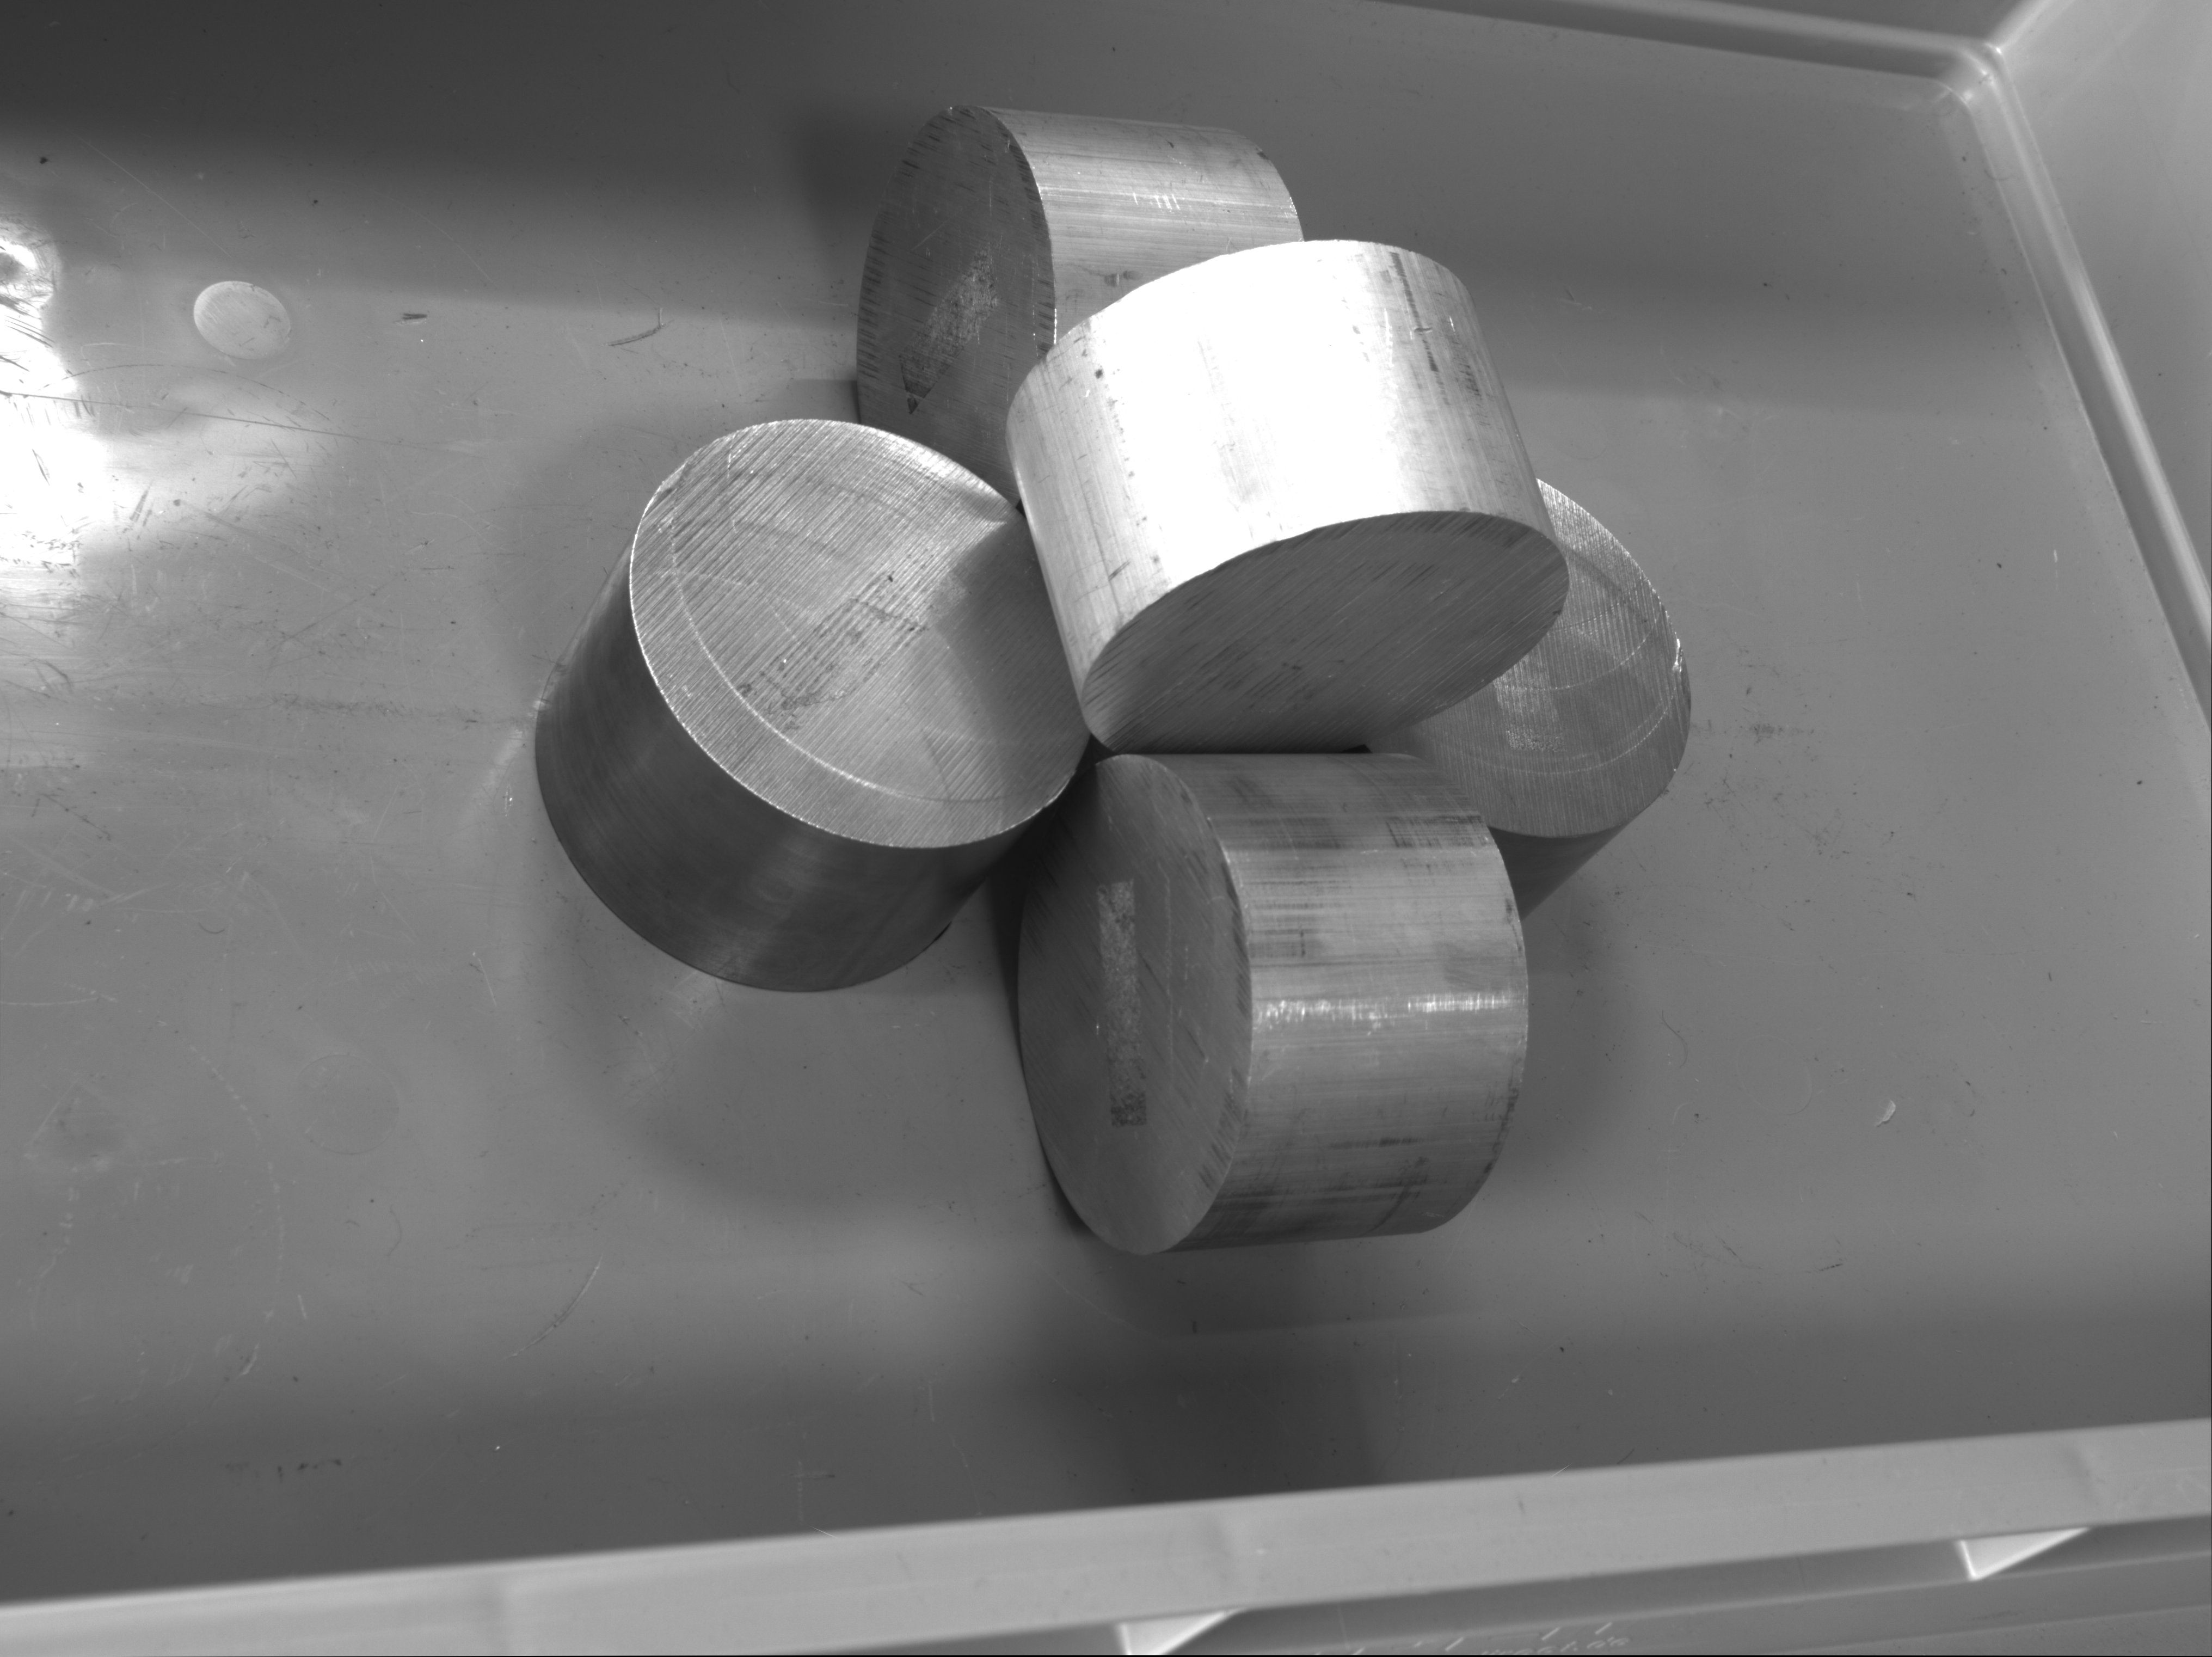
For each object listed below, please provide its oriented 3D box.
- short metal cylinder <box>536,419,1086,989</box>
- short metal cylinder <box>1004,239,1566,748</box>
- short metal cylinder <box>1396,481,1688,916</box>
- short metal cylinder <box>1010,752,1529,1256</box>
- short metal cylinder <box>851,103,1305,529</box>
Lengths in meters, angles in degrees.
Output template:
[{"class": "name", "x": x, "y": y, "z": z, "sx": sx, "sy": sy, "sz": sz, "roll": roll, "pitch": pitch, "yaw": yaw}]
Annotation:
[{"class": "short metal cylinder", "x": -0.049, "y": -0.020, "z": 0.607, "sx": 0.080, "sy": 0.050, "sz": 0.080, "roll": 14, "pitch": 56, "yaw": -21}, {"class": "short metal cylinder", "x": 0.028, "y": -0.050, "z": 0.591, "sx": 0.080, "sy": 0.080, "sz": 0.050, "roll": -1, "pitch": 62, "yaw": -29}, {"class": "short metal cylinder", "x": 0.058, "y": -0.022, "z": 0.665, "sx": 0.080, "sy": 0.050, "sz": 0.080, "roll": 14, "pitch": 56, "yaw": -21}, {"class": "short metal cylinder", "x": 0.025, "y": 0.028, "z": 0.598, "sx": 0.050, "sy": 0.080, "sz": 0.080, "roll": -1, "pitch": 62, "yaw": -29}, {"class": "short metal cylinder", "x": -0.005, "y": -0.086, "z": 0.651, "sx": 0.050, "sy": 0.080, "sz": 0.080, "roll": -1, "pitch": 62, "yaw": -29}]
